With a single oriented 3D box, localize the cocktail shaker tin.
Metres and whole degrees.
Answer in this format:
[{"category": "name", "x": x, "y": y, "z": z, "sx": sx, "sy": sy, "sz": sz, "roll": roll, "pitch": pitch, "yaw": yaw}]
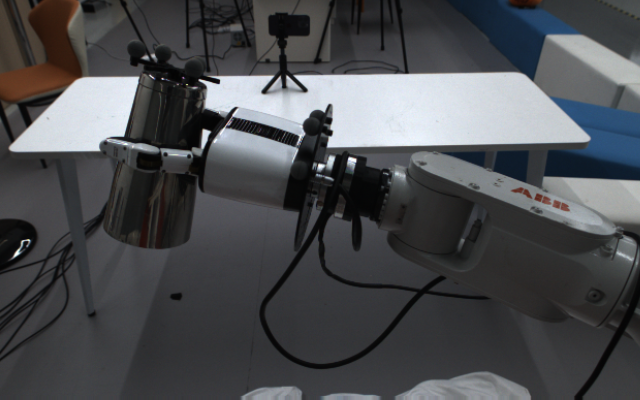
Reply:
[{"category": "cocktail shaker tin", "x": -0.168, "y": -0.043, "z": 0.514, "sx": 0.093, "sy": 0.170, "sz": 0.093, "roll": 14, "pitch": 17, "yaw": -5}]
